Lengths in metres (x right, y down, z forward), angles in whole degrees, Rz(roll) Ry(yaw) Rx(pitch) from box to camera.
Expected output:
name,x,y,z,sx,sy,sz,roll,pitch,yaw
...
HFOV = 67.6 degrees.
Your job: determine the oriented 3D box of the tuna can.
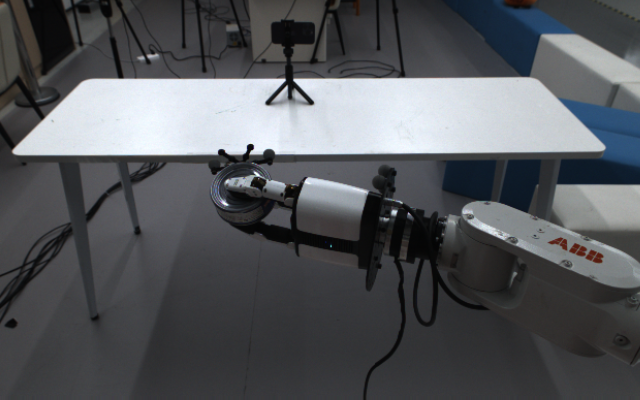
name,x,y,z,sx,sy,sz,roll,pitch,yaw
tuna can,-0.101,-0.003,0.659,0.085,0.034,0.085,-3,60,5
